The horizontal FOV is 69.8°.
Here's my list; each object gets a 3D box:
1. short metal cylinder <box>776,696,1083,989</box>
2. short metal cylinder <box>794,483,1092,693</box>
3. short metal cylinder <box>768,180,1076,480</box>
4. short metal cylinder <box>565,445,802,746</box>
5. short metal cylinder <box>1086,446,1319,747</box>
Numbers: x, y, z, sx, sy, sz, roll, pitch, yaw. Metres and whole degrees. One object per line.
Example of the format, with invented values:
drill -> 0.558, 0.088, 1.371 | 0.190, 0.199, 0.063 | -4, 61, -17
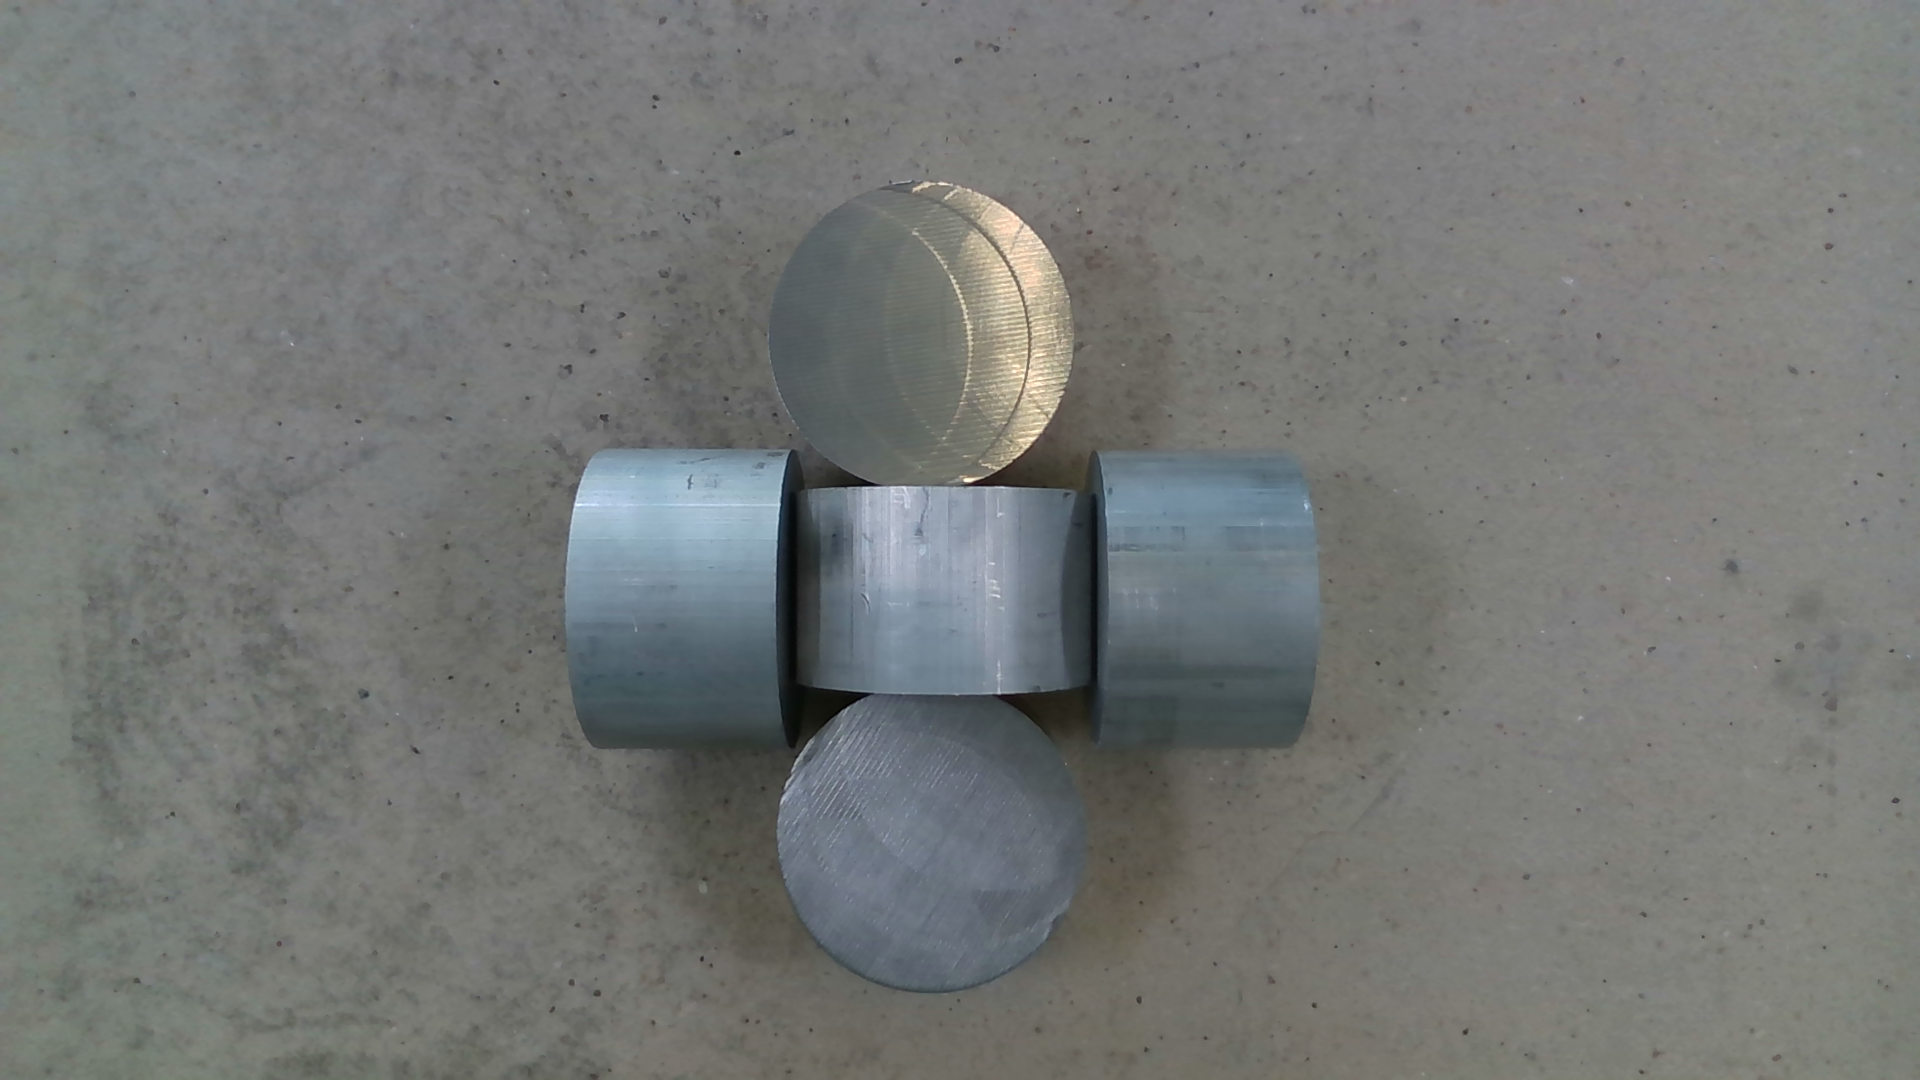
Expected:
short metal cylinder -> -0.008, 0.077, 0.383 | 0.080, 0.050, 0.080 | 0, 90, 0
short metal cylinder -> -0.005, 0.012, 0.369 | 0.080, 0.080, 0.050 | 0, 90, 0
short metal cylinder -> -0.010, -0.054, 0.383 | 0.080, 0.050, 0.080 | 0, 91, 0
short metal cylinder -> -0.070, 0.015, 0.369 | 0.050, 0.080, 0.080 | 0, 90, 0
short metal cylinder -> 0.061, 0.015, 0.369 | 0.050, 0.080, 0.080 | 0, 90, 0
